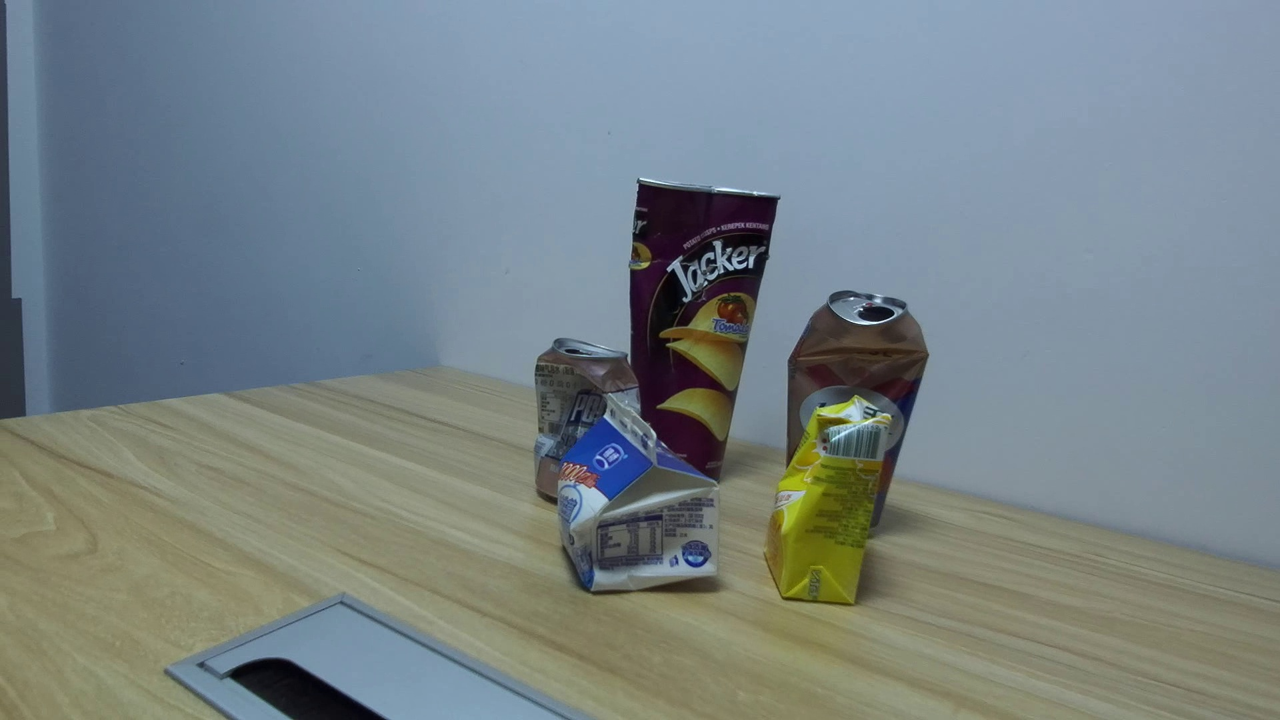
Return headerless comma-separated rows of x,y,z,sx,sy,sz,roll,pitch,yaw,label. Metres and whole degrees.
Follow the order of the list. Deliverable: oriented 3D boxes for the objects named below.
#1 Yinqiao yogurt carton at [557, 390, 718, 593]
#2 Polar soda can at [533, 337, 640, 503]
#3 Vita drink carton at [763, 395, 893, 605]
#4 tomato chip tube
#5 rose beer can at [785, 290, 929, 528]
-0.006,0.072,0.394,0.080,0.097,0.074,-6,14,-19,Yinqiao yogurt carton
-0.037,0.045,0.505,0.074,0.114,0.070,1,18,-13,Polar soda can
0.105,0.076,0.408,0.046,0.109,0.071,8,8,0,Vita drink carton
0.040,-0.020,0.561,0.090,0.235,0.078,14,14,28,tomato chip tube
0.146,0.038,0.495,0.069,0.168,0.069,-3,19,-22,rose beer can
